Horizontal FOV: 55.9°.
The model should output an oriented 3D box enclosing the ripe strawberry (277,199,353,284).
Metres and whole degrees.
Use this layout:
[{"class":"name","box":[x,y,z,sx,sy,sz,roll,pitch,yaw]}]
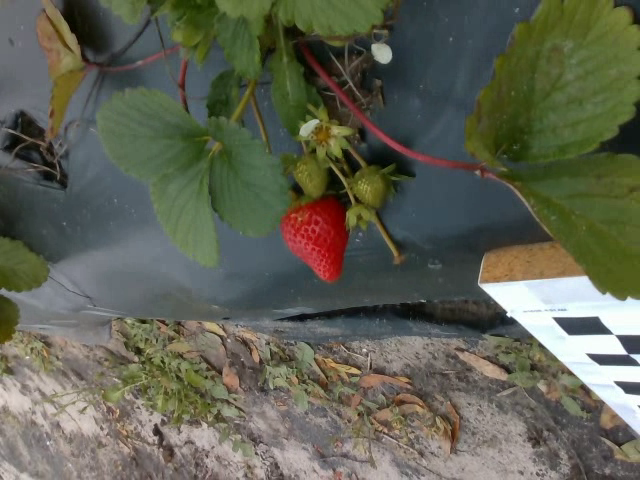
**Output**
[{"class":"ripe strawberry","box":[0.000,0.001,0.093,0.018,0.017,0.014,-16,7,32]}]
